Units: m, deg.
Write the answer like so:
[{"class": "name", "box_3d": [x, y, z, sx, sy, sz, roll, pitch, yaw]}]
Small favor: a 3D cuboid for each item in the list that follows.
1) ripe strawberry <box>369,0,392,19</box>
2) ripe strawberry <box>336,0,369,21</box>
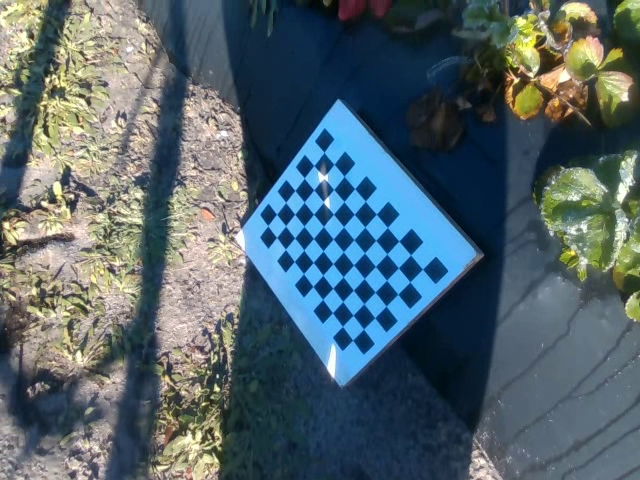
[{"class": "ripe strawberry", "box_3d": [0.077, -0.292, 0.762, 0.036, 0.041, 0.030, -20, -15, 35]}, {"class": "ripe strawberry", "box_3d": [0.037, -0.289, 0.769, 0.036, 0.052, 0.040, 10, -30, 34]}]
